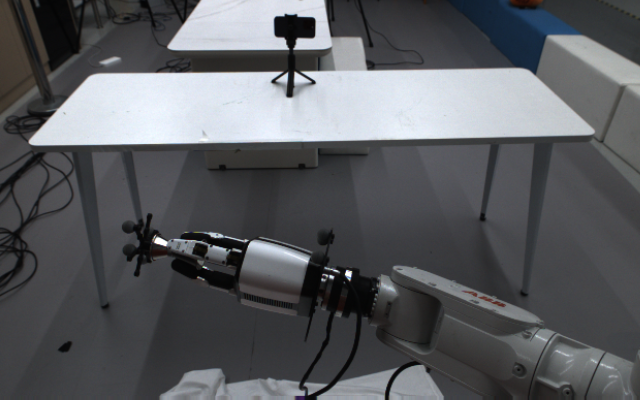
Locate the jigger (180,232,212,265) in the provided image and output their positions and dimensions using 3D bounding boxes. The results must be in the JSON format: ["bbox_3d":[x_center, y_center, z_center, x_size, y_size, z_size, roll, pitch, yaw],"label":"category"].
[{"bbox_3d":[-0.189,0.067,0.678,0.071,0.043,0.043,8,35,2],"label":"jigger"}]
